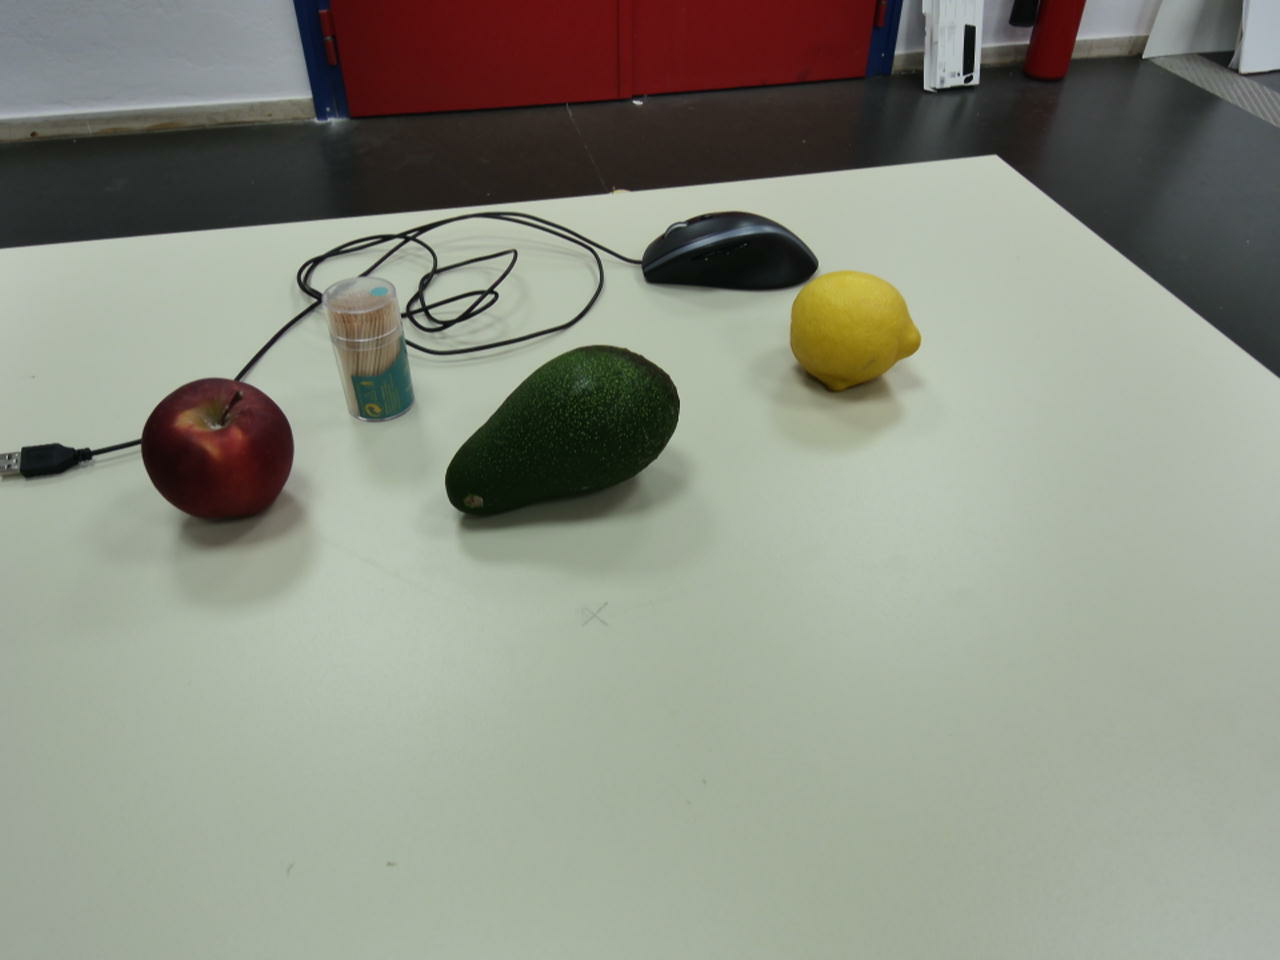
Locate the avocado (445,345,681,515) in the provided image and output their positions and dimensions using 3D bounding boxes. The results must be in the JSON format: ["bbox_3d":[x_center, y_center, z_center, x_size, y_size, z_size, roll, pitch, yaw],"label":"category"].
[{"bbox_3d":[-0.040,-0.030,0.517,0.123,0.076,0.074,-4,39,-5],"label":"avocado"}]
